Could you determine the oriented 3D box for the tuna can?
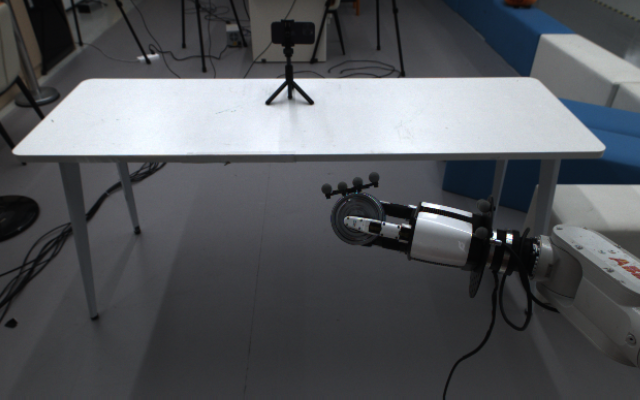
[{"bbox_3d":[0.065,0.036,0.773,0.085,0.085,0.034,12,3,14],"label":"tuna can"}]
